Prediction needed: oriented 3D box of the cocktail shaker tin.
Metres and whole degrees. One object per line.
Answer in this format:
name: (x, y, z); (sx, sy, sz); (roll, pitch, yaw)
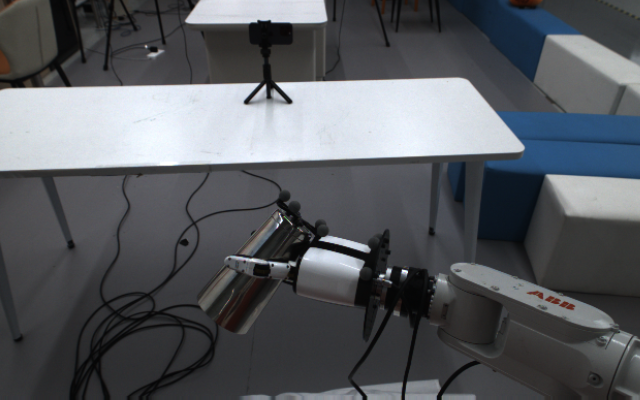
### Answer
cocktail shaker tin: (-0.088, 0.096, 0.703); (0.170, 0.093, 0.093); (-50, 47, 3)
